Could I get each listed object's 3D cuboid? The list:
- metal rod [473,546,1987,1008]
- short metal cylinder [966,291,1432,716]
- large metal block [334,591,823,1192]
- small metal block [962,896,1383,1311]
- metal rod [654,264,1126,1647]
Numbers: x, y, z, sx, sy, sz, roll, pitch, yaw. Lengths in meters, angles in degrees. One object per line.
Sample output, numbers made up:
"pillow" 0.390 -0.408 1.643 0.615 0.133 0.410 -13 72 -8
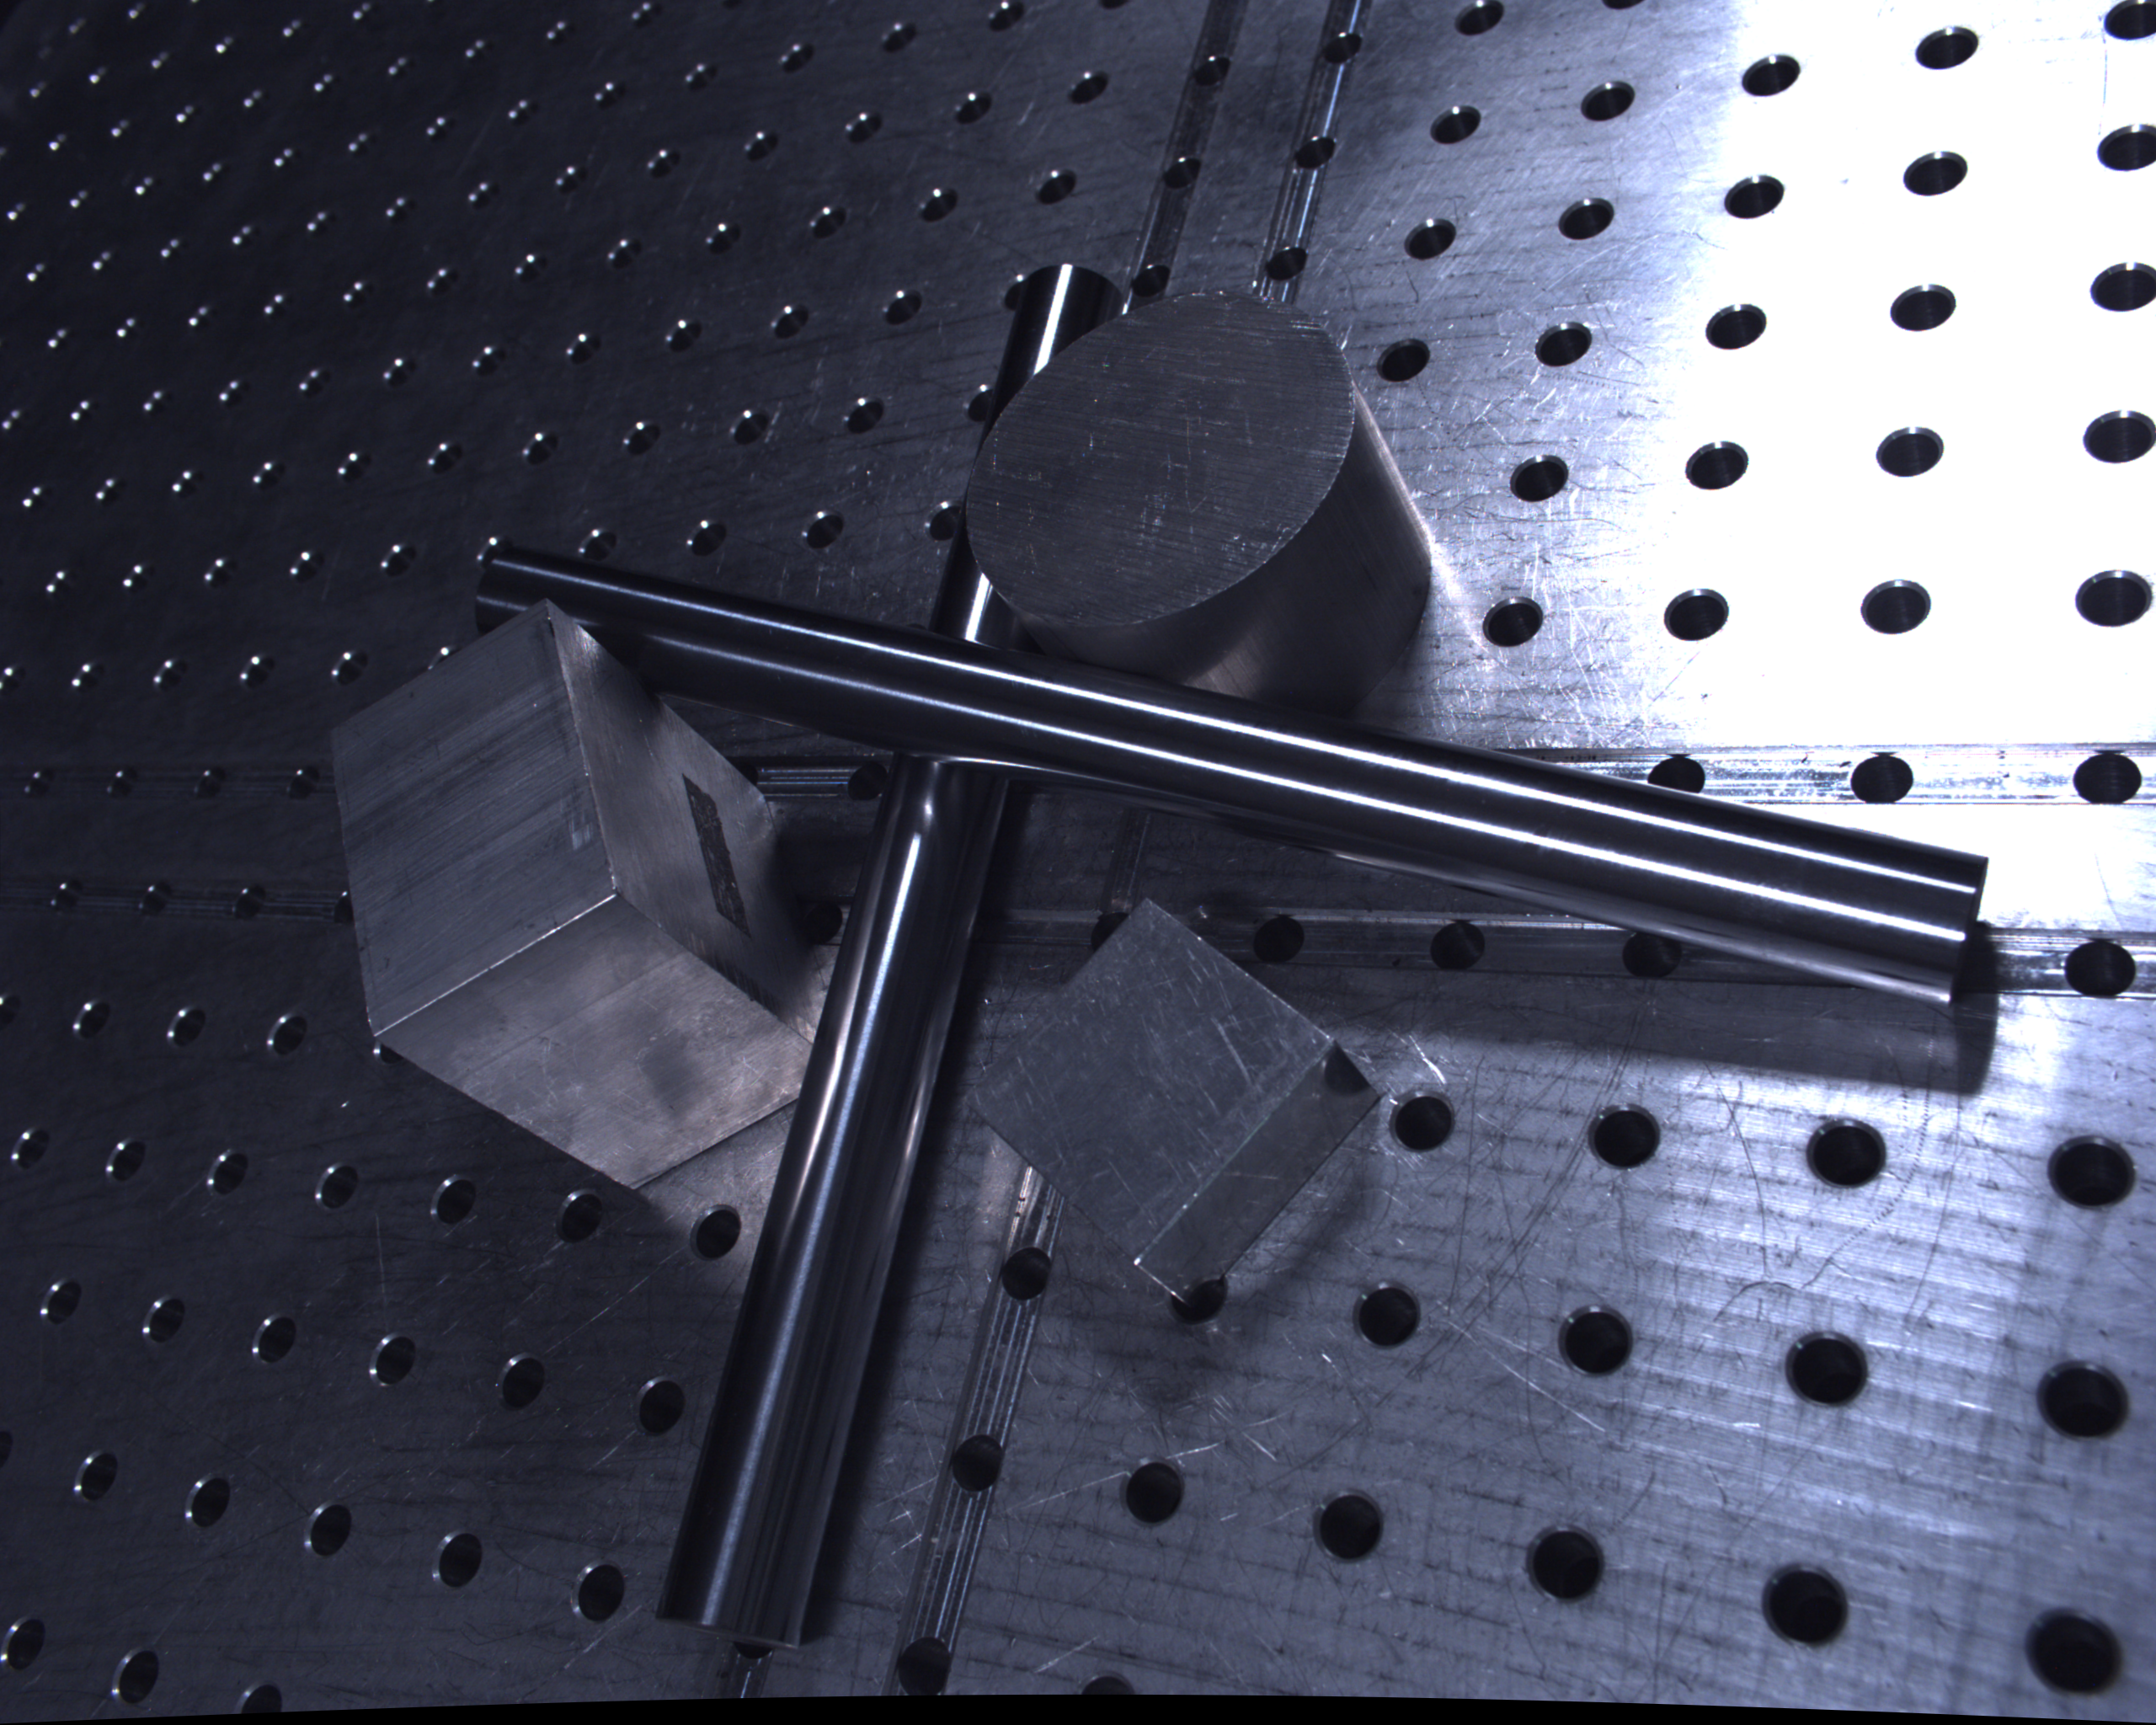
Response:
"metal rod" 0.008 -0.023 0.392 0.301 0.025 0.025 14 69 25
"short metal cylinder" 0.025 -0.067 0.419 0.080 0.050 0.080 -13 56 20
"large metal block" -0.096 0.007 0.416 0.050 0.080 0.080 -31 52 8
"small metal block" 0.017 0.042 0.373 0.050 0.025 0.050 -48 52 -6
"metal rod" -0.031 0.000 0.423 0.025 0.025 0.300 -1 61 27
